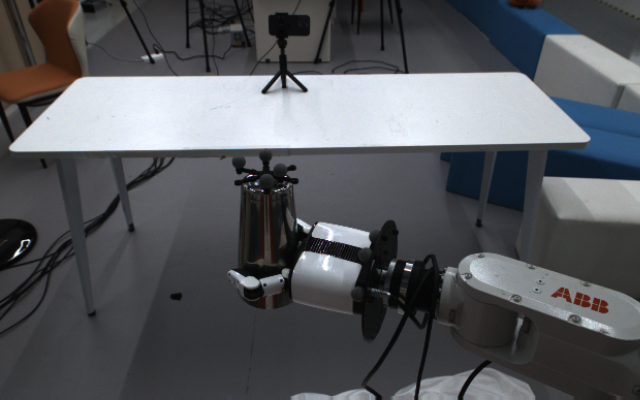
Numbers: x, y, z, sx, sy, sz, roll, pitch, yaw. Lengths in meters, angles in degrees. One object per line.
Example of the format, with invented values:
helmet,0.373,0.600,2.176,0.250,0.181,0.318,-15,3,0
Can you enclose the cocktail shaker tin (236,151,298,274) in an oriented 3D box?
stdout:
cocktail shaker tin,-0.068,0.051,0.652,0.093,0.170,0.093,1,28,-1
